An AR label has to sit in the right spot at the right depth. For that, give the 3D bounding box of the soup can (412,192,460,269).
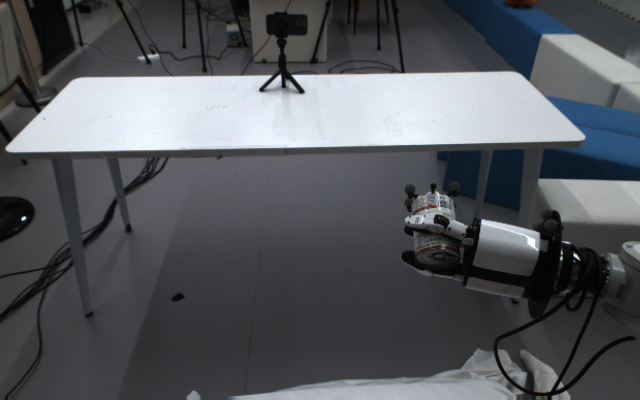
[{"bbox_3d":[0.178,0.046,0.744,0.067,0.067,0.101,3,57,1],"label":"soup can"}]
